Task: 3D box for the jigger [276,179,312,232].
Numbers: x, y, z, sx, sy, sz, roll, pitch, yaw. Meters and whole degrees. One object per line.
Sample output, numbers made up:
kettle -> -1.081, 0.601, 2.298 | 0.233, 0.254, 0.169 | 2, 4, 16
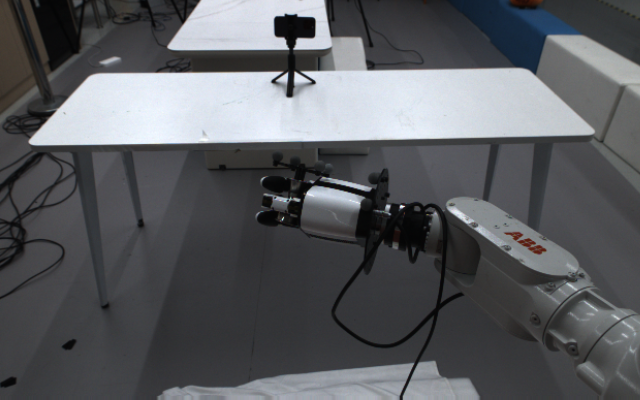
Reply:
jigger -> -0.038, 0.002, 0.742 | 0.043, 0.071, 0.043 | 14, 2, 0
